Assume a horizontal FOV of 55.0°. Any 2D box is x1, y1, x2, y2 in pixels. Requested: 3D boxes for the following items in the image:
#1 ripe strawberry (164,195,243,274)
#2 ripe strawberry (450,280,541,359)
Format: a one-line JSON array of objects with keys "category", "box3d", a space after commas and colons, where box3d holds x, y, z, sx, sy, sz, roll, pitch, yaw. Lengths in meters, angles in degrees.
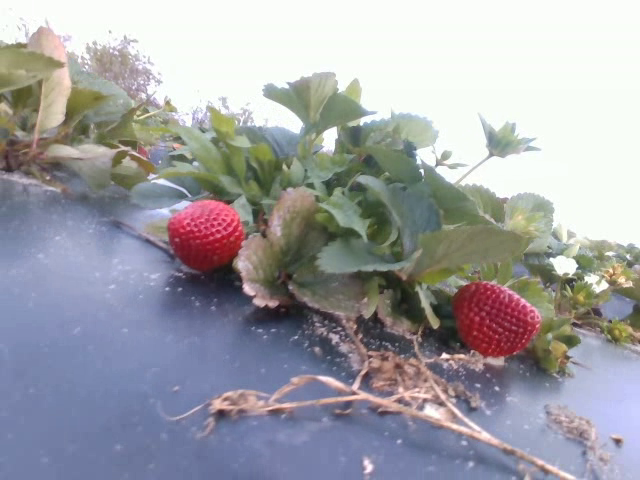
[{"category": "ripe strawberry", "box3d": [-0.063, -0.001, 0.317, 0.043, 0.043, 0.050, 24, 10, 25]}, {"category": "ripe strawberry", "box3d": [0.094, 0.039, 0.319, 0.043, 0.047, 0.046, -21, 12, -38]}]
